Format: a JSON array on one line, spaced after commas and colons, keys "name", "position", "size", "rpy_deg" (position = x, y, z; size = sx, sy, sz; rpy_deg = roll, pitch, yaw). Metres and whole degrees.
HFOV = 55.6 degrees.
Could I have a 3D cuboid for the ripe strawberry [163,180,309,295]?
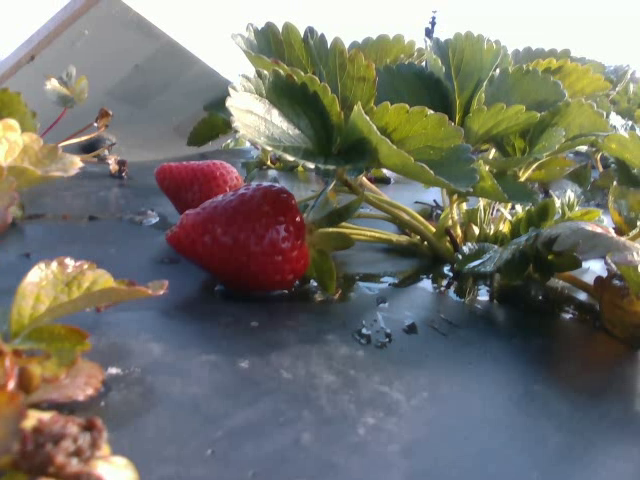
[{"name": "ripe strawberry", "position": [-0.035, -0.003, 0.242], "size": [0.065, 0.050, 0.048], "rpy_deg": [-13, -21, -30]}]
